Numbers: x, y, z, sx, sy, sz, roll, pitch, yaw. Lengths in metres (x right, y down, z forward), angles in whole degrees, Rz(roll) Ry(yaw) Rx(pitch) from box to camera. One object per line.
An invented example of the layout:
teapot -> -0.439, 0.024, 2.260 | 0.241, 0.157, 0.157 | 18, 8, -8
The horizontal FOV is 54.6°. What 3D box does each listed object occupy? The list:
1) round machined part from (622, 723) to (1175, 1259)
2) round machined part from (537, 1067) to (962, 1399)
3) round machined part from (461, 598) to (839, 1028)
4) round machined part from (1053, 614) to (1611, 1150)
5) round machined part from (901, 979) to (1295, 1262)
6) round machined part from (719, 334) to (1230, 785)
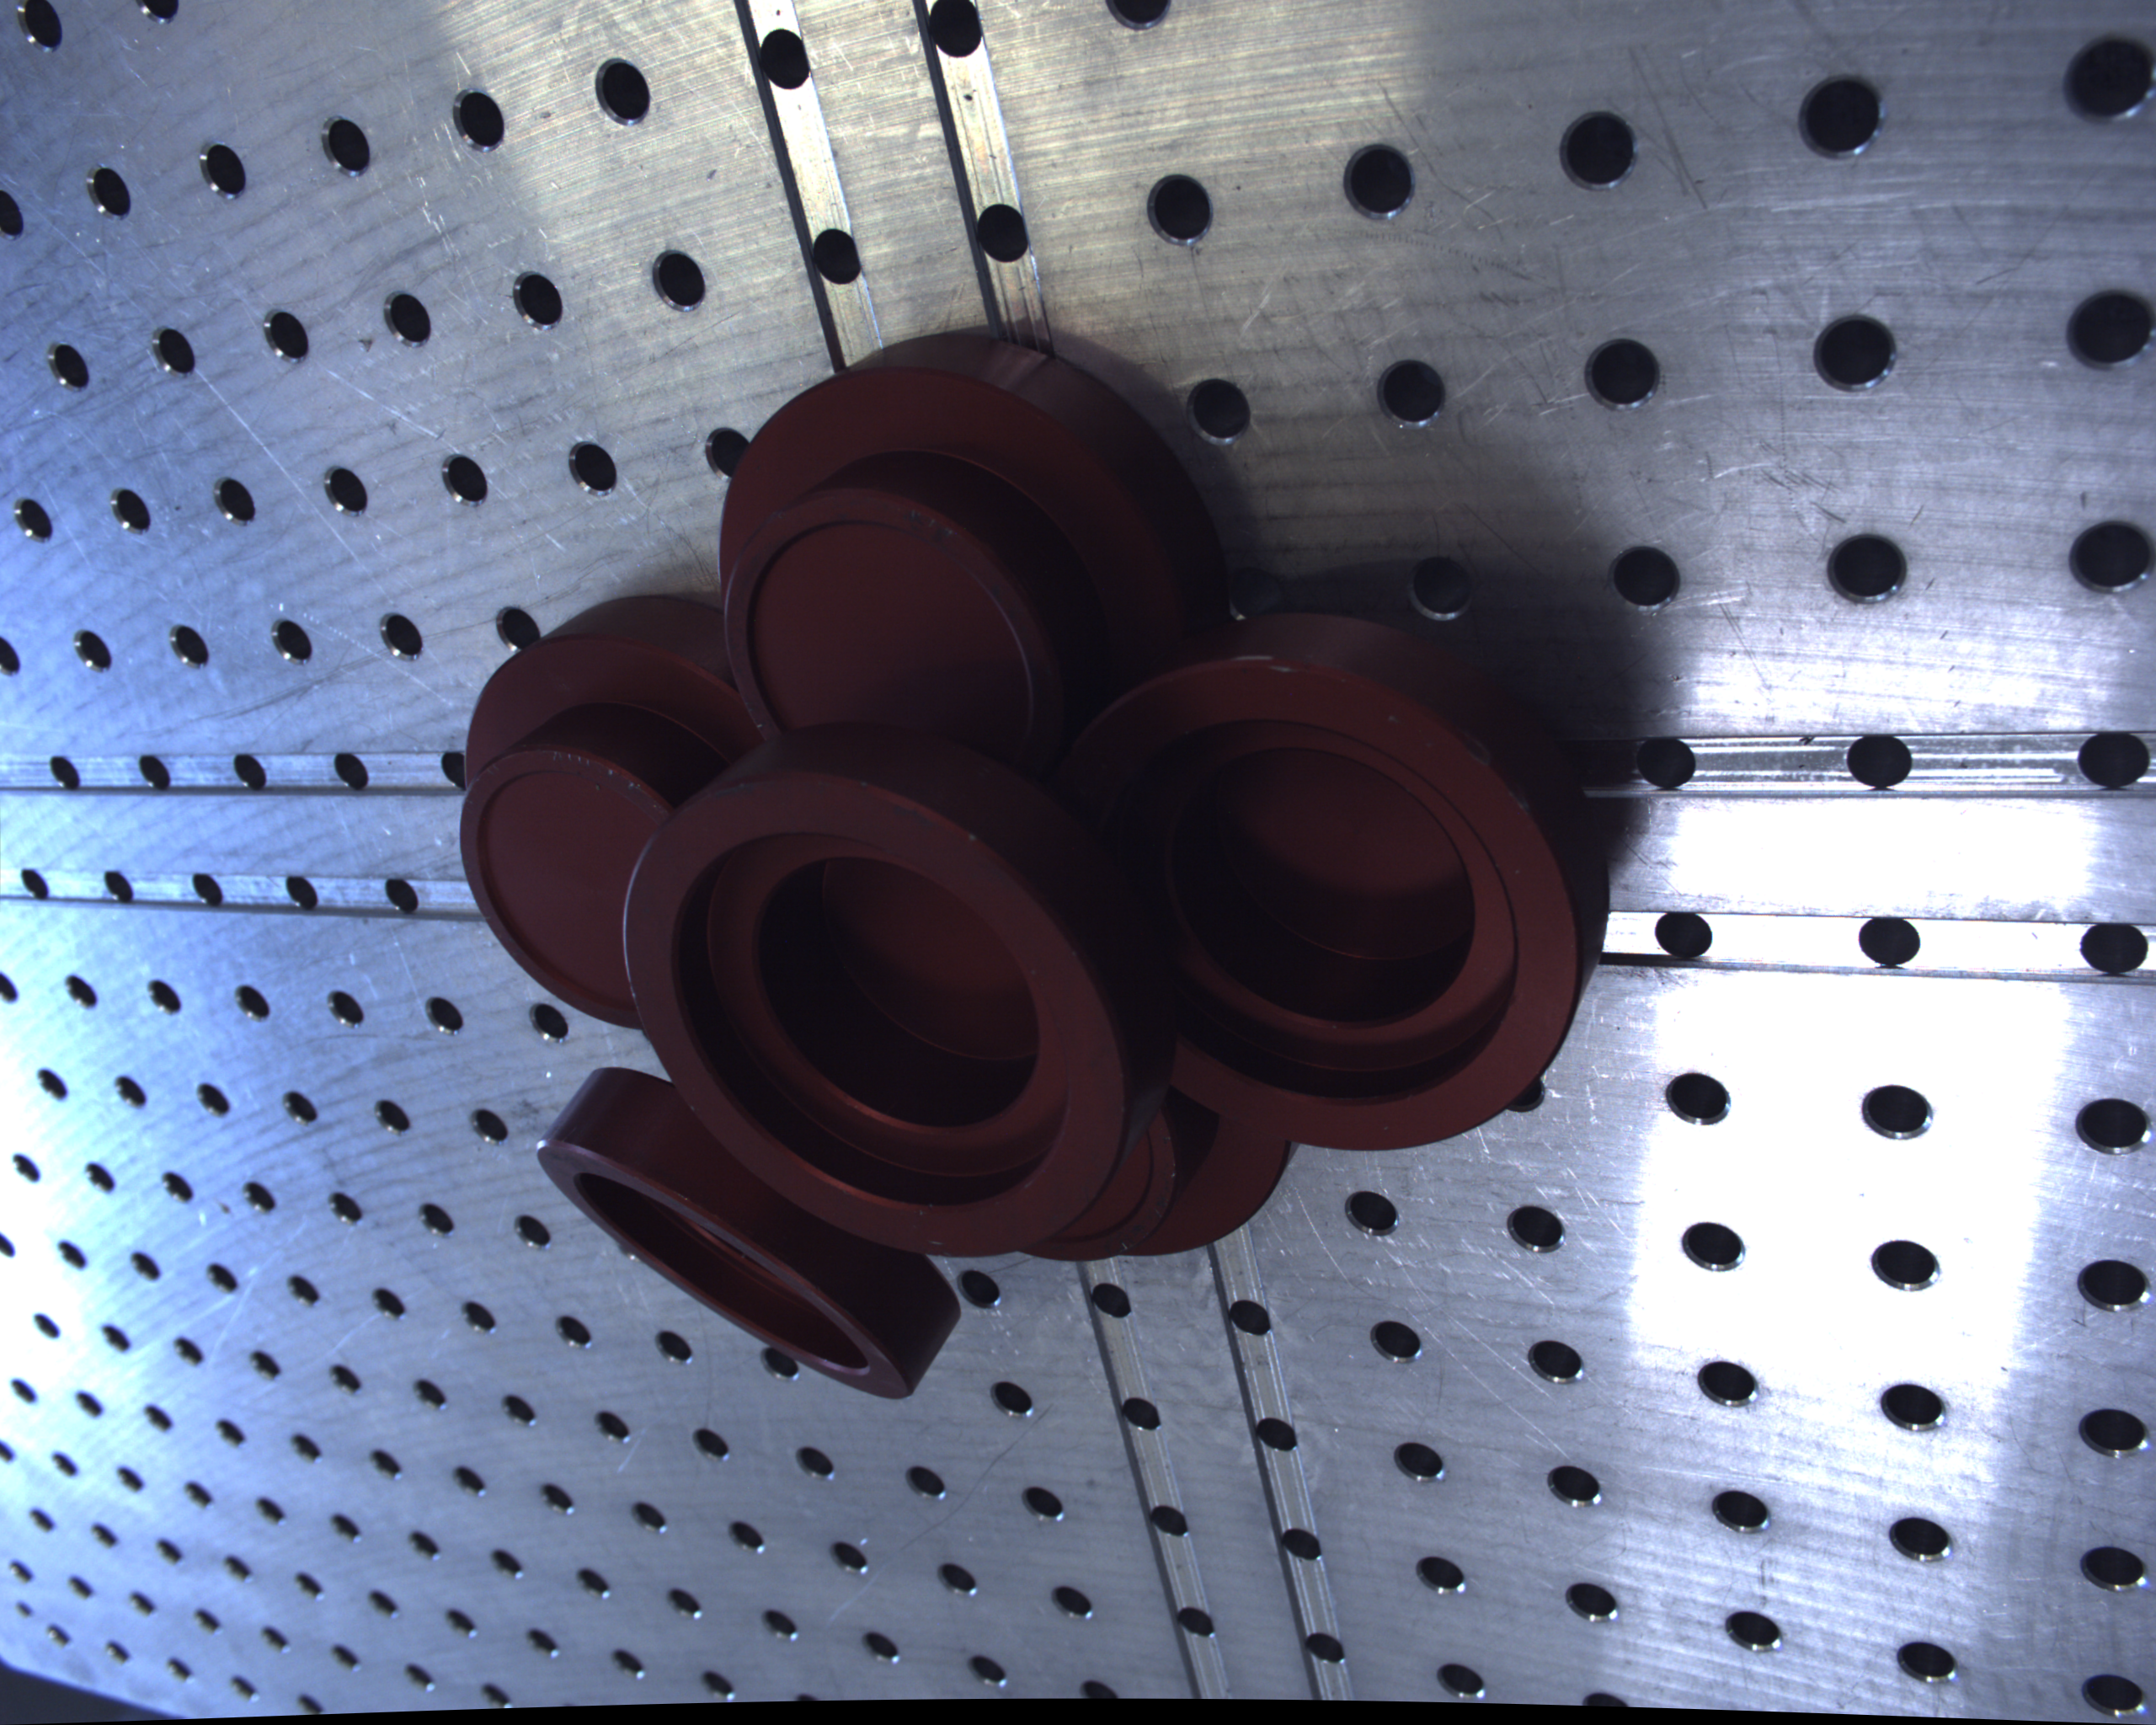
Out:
round machined part -> -0.028, 0.019, 0.372 | 0.098, 0.042, 0.097 | 13, 124, 21
round machined part -> -0.067, 0.075, 0.466 | 0.098, 0.042, 0.098 | 26, 154, 14
round machined part -> -0.091, -0.004, 0.447 | 0.098, 0.042, 0.097 | 13, 124, 21
round machined part -> 0.047, 0.000, 0.375 | 0.098, 0.042, 0.097 | 13, 124, 21
round machined part -> -0.003, 0.042, 0.428 | 0.098, 0.042, 0.097 | 13, 124, 21
round machined part -> -0.025, -0.044, 0.387 | 0.098, 0.042, 0.097 | 13, 124, 21
